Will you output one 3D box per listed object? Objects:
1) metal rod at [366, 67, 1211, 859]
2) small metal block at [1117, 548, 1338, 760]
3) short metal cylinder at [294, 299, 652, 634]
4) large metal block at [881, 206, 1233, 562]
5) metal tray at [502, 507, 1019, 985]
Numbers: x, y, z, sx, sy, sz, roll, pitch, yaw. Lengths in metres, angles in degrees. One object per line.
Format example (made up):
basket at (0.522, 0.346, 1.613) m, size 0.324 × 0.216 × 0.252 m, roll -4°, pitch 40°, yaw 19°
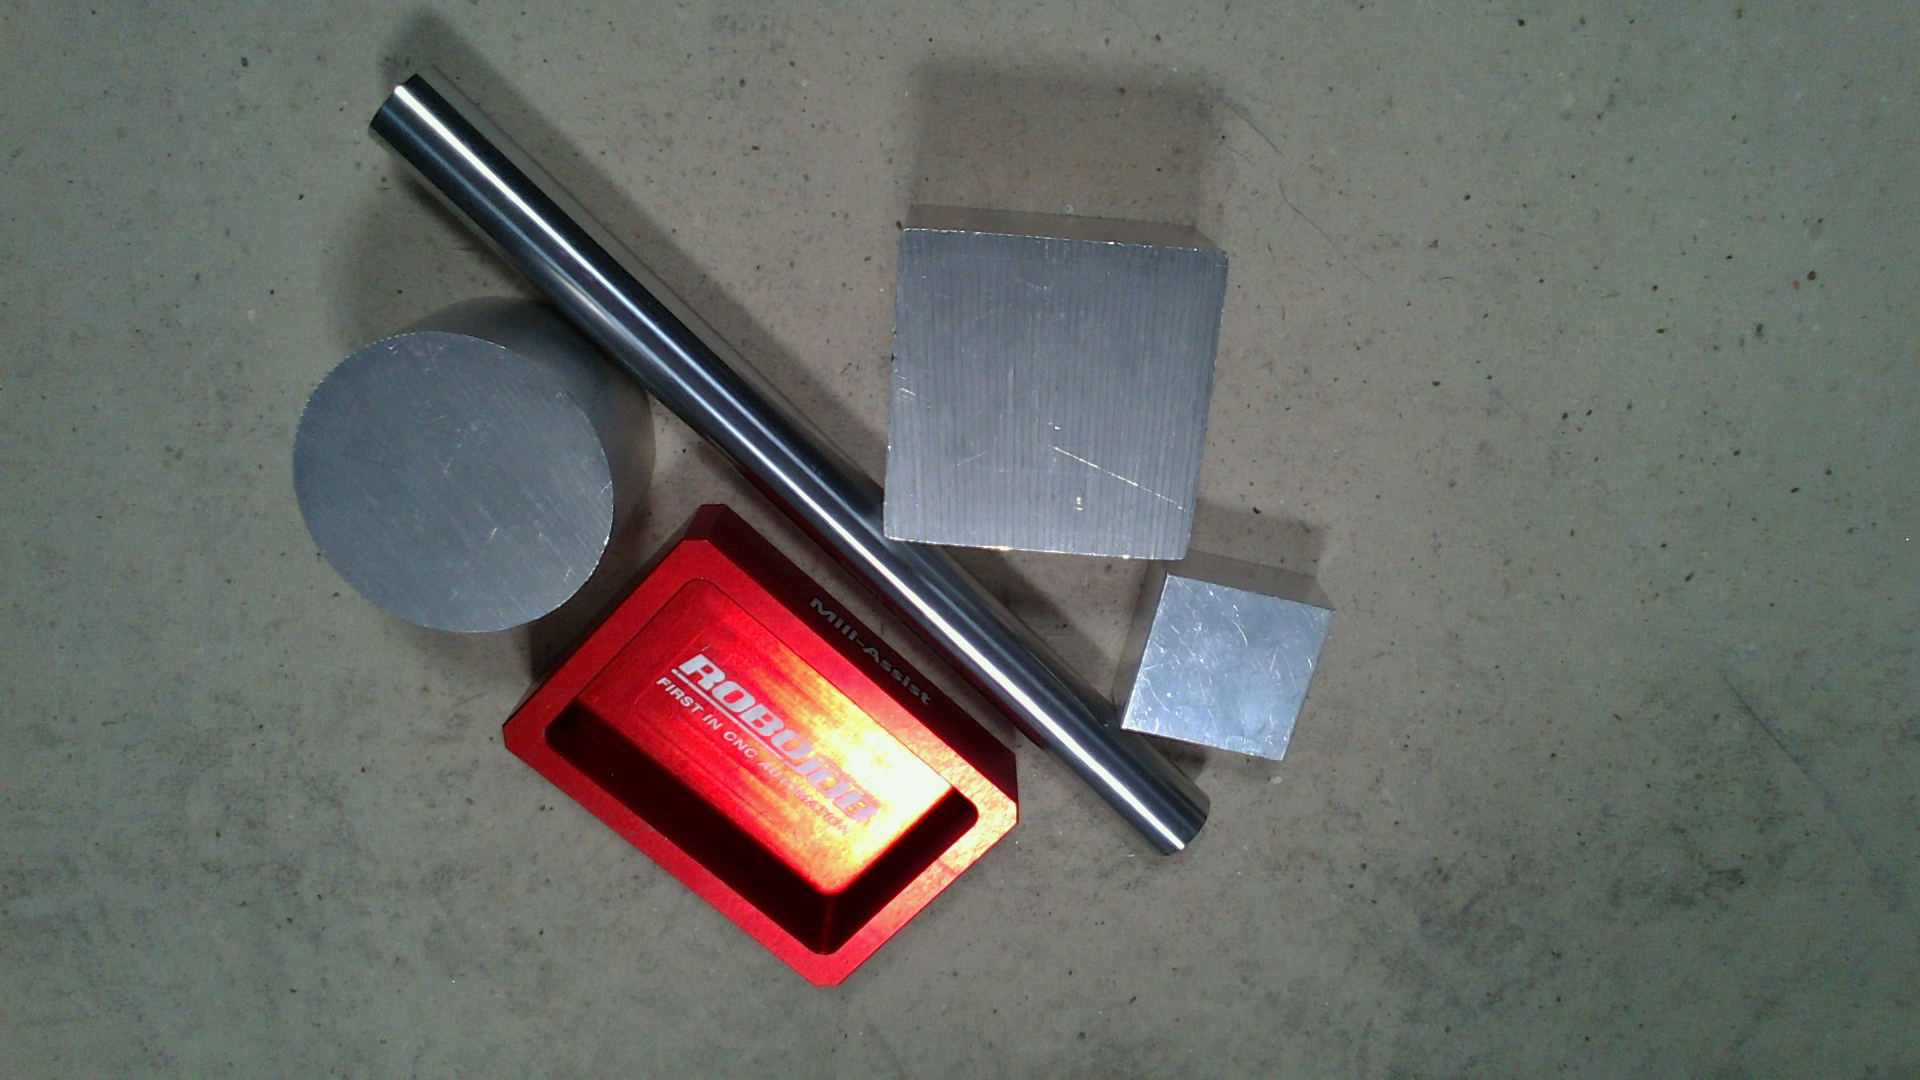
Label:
metal rod at (-0.037, -0.012, 0.389) m, size 0.025 × 0.025 × 0.300 m, roll -43°, pitch 105°, yaw 14°
small metal block at (0.077, 0.033, 0.407) m, size 0.050 × 0.025 × 0.050 m, roll 12°, pitch 110°, yaw -5°
short metal cylinder at (-0.128, -0.021, 0.372) m, size 0.080 × 0.050 × 0.080 m, roll 0°, pitch 110°, yaw 0°
large metal block at (0.023, -0.043, 0.365) m, size 0.080 × 0.050 × 0.080 m, roll 4°, pitch 110°, yaw -2°
metal tray at (-0.057, 0.064, 0.415) m, size 0.130 × 0.030 × 0.090 m, roll 42°, pitch 105°, yaw -14°
